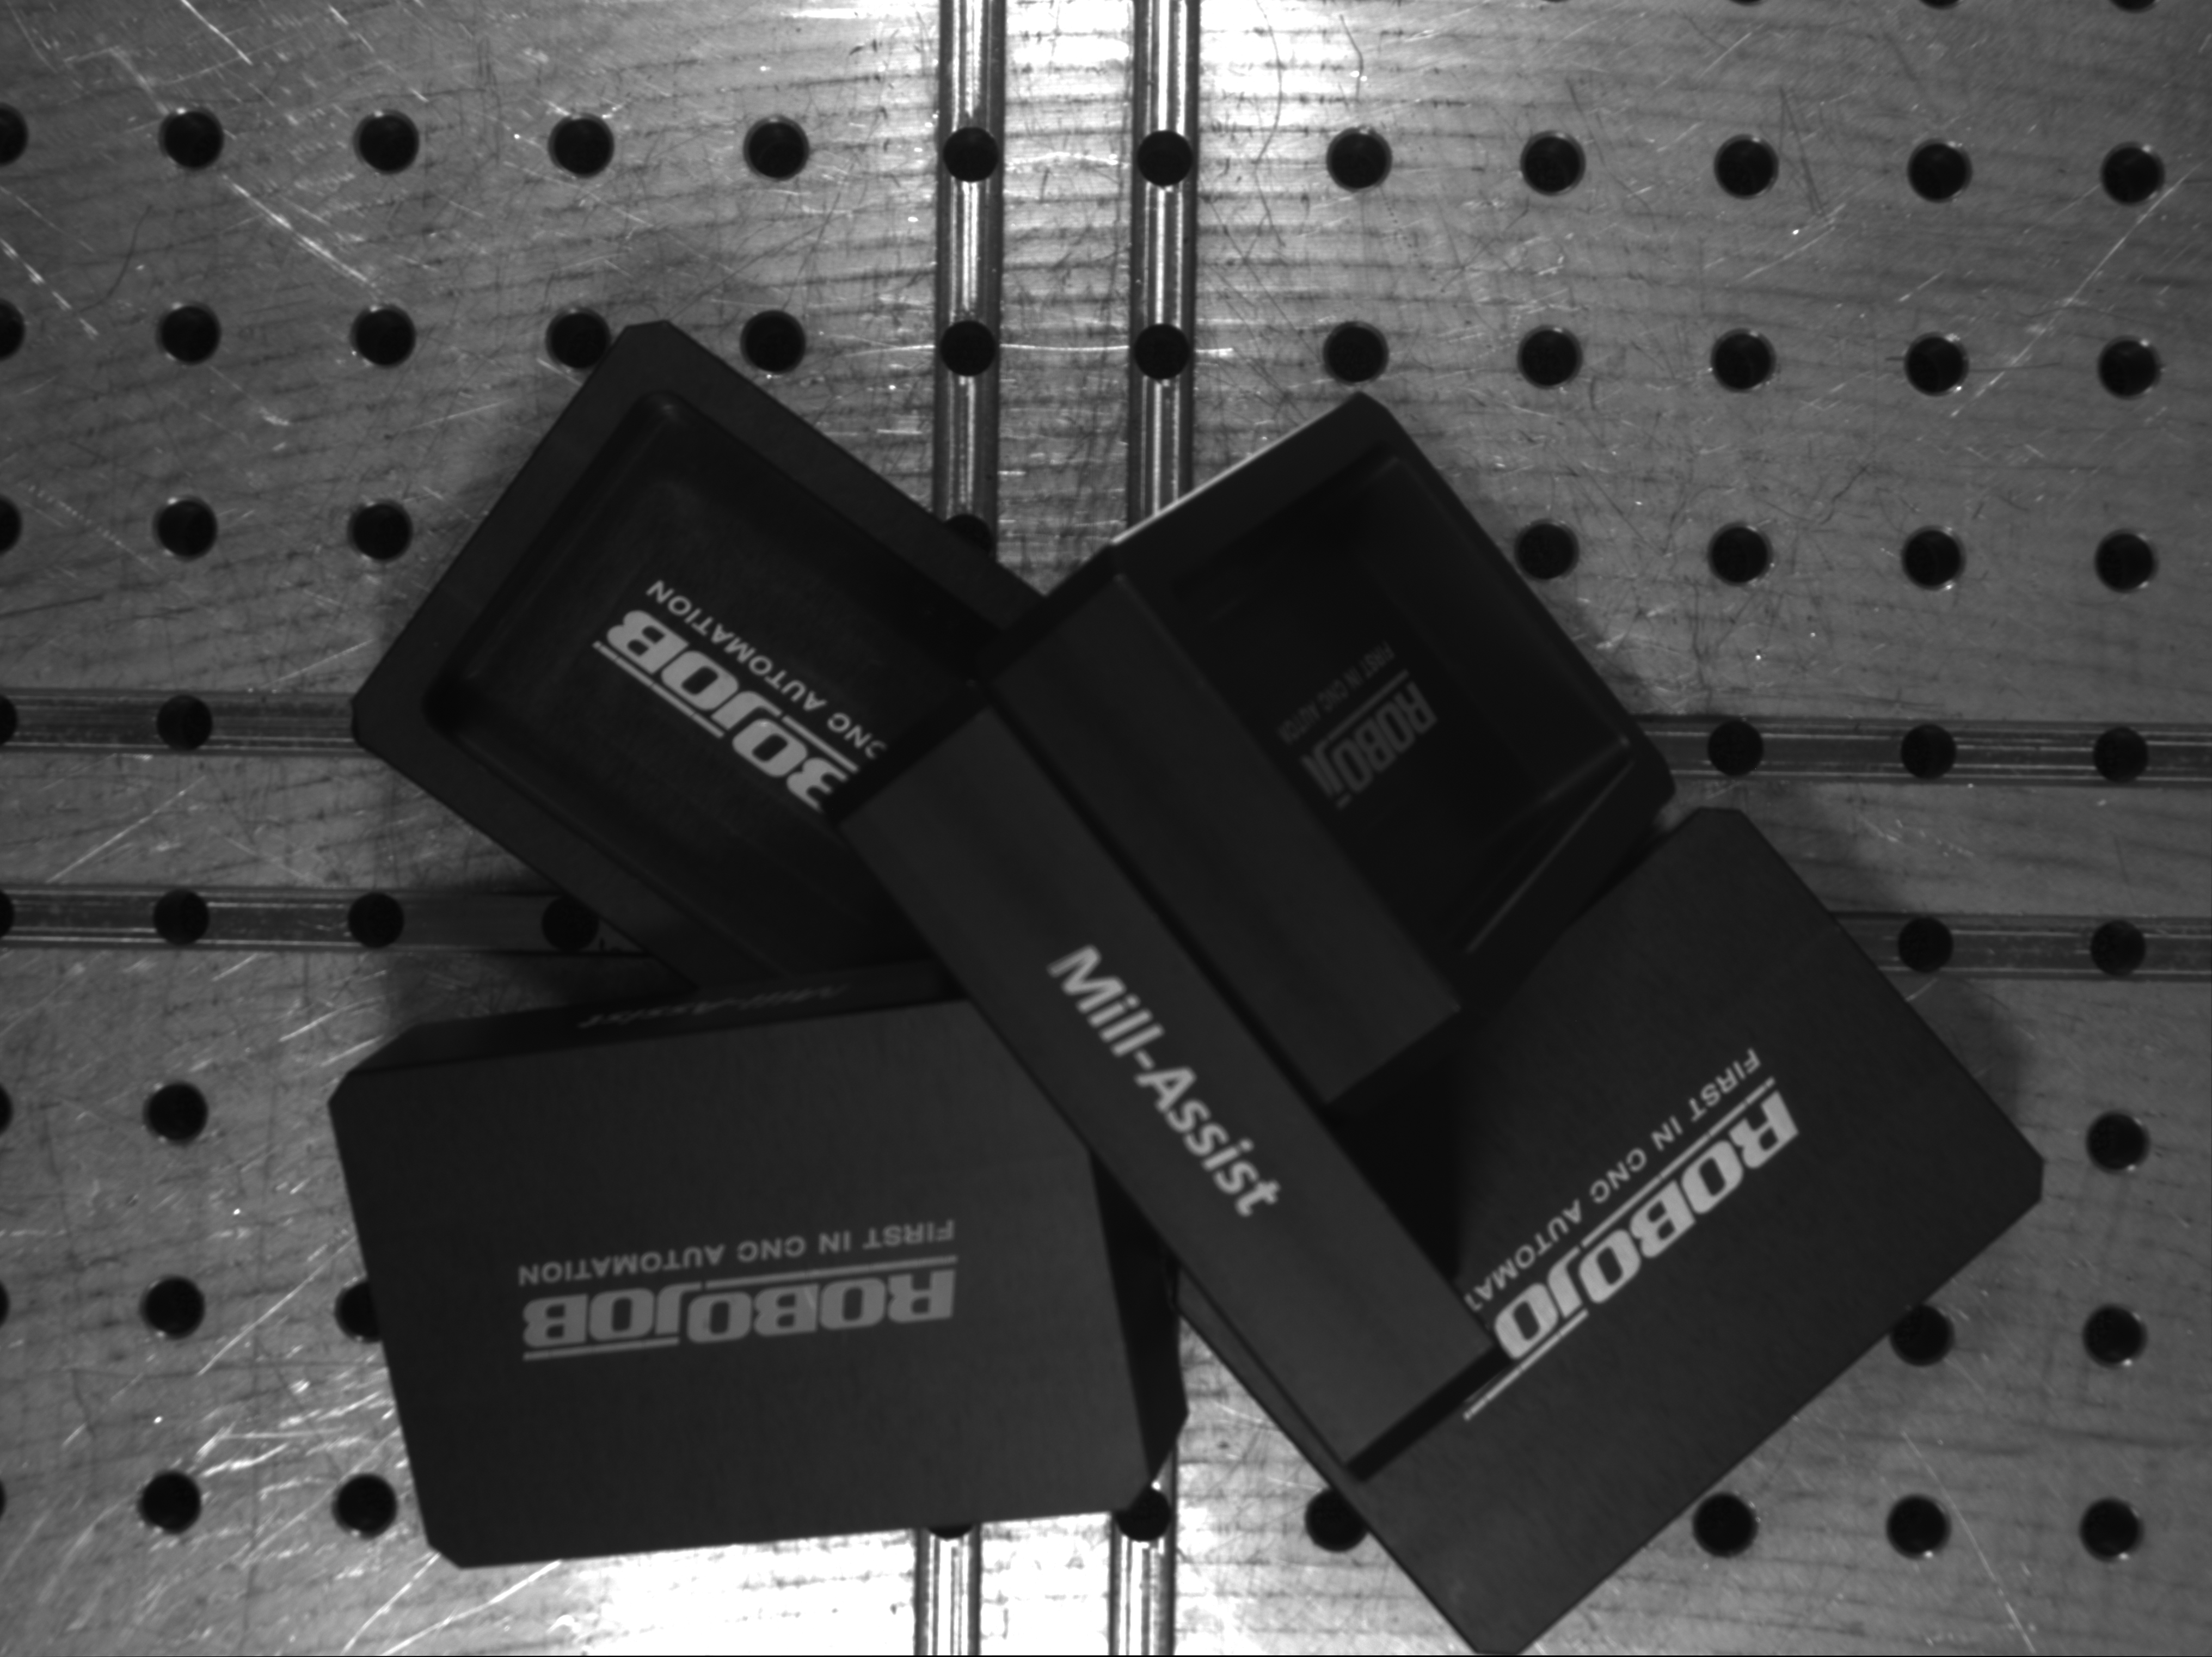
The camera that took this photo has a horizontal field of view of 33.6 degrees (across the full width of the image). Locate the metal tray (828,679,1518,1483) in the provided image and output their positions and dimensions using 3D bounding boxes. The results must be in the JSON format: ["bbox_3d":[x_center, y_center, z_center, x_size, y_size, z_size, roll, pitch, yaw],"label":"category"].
[{"bbox_3d":[0.010,0.038,0.584,0.030,0.090,0.130,-38,90,0],"label":"metal tray"}]

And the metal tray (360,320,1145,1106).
[{"bbox_3d":[-0.052,-0.016,0.644,0.130,0.030,0.090,36,90,0],"label":"metal tray"}]

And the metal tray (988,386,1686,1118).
[{"bbox_3d":[0.042,-0.017,0.596,0.030,0.130,0.090,-38,90,28],"label":"metal tray"}]

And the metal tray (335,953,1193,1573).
[{"bbox_3d":[-0.057,0.074,0.620,0.130,0.030,0.090,-8,101,14],"label":"metal tray"}]

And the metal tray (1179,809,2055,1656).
[{"bbox_3d":[0.088,0.070,0.644,0.130,0.030,0.090,-41,90,0],"label":"metal tray"}]
